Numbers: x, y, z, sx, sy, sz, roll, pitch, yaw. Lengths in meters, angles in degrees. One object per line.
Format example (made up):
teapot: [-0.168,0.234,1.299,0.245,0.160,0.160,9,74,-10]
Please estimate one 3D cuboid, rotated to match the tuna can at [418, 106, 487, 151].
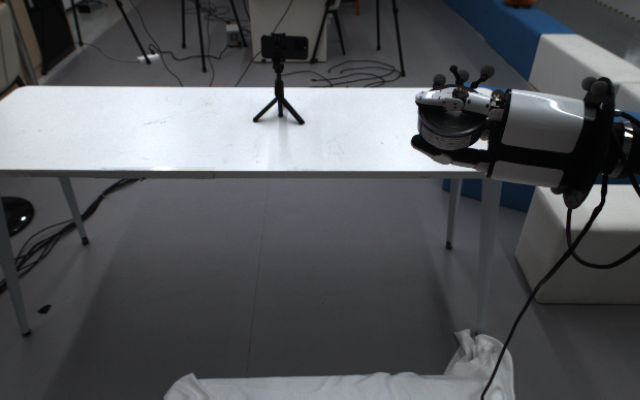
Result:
tuna can: [0.170,-0.108,0.623,0.085,0.034,0.085,-4,56,6]
